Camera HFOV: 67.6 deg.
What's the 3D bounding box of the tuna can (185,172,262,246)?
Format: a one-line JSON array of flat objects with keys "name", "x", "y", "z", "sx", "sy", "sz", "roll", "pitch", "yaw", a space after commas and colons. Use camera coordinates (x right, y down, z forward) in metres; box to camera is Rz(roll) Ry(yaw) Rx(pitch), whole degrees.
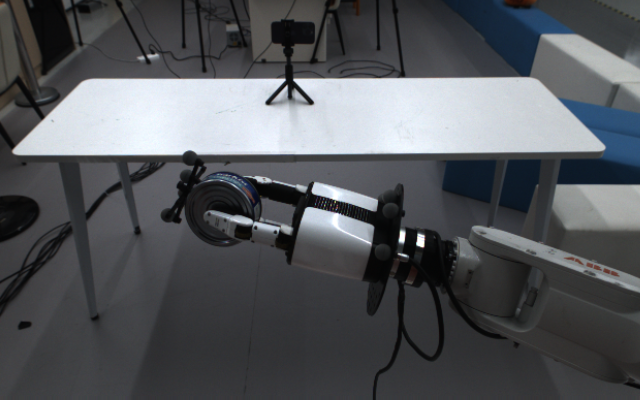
[{"name": "tuna can", "x": -0.110, "y": 0.017, "z": 0.569, "sx": 0.085, "sy": 0.085, "sz": 0.034, "roll": 6, "pitch": 20, "yaw": 5}]
